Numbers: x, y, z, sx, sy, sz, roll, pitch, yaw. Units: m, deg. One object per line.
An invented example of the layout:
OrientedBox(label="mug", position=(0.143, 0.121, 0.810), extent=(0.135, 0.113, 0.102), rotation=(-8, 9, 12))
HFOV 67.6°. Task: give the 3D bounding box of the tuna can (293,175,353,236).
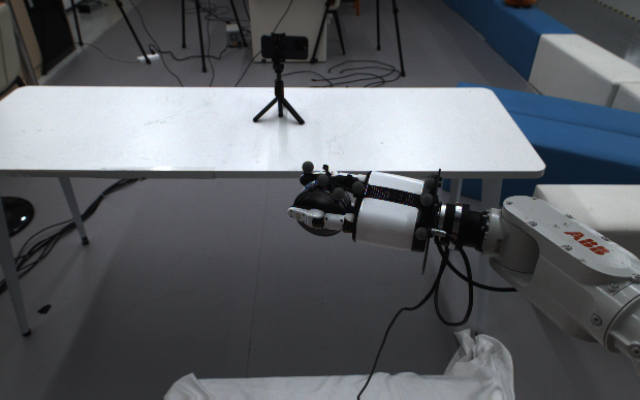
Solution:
OrientedBox(label="tuna can", position=(0.006, 0.011, 0.743), extent=(0.085, 0.085, 0.034), rotation=(12, 33, 14))
